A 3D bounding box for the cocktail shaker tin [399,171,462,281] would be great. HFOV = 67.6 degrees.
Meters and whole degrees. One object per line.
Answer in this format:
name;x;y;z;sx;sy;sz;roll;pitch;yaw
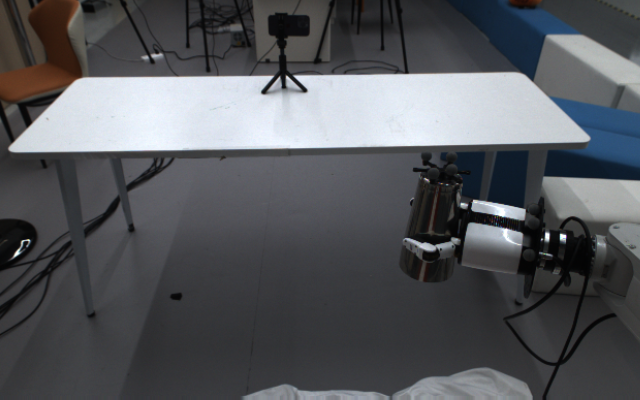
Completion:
cocktail shaker tin;0.185;0.036;0.788;0.093;0.170;0.093;2;28;-1
